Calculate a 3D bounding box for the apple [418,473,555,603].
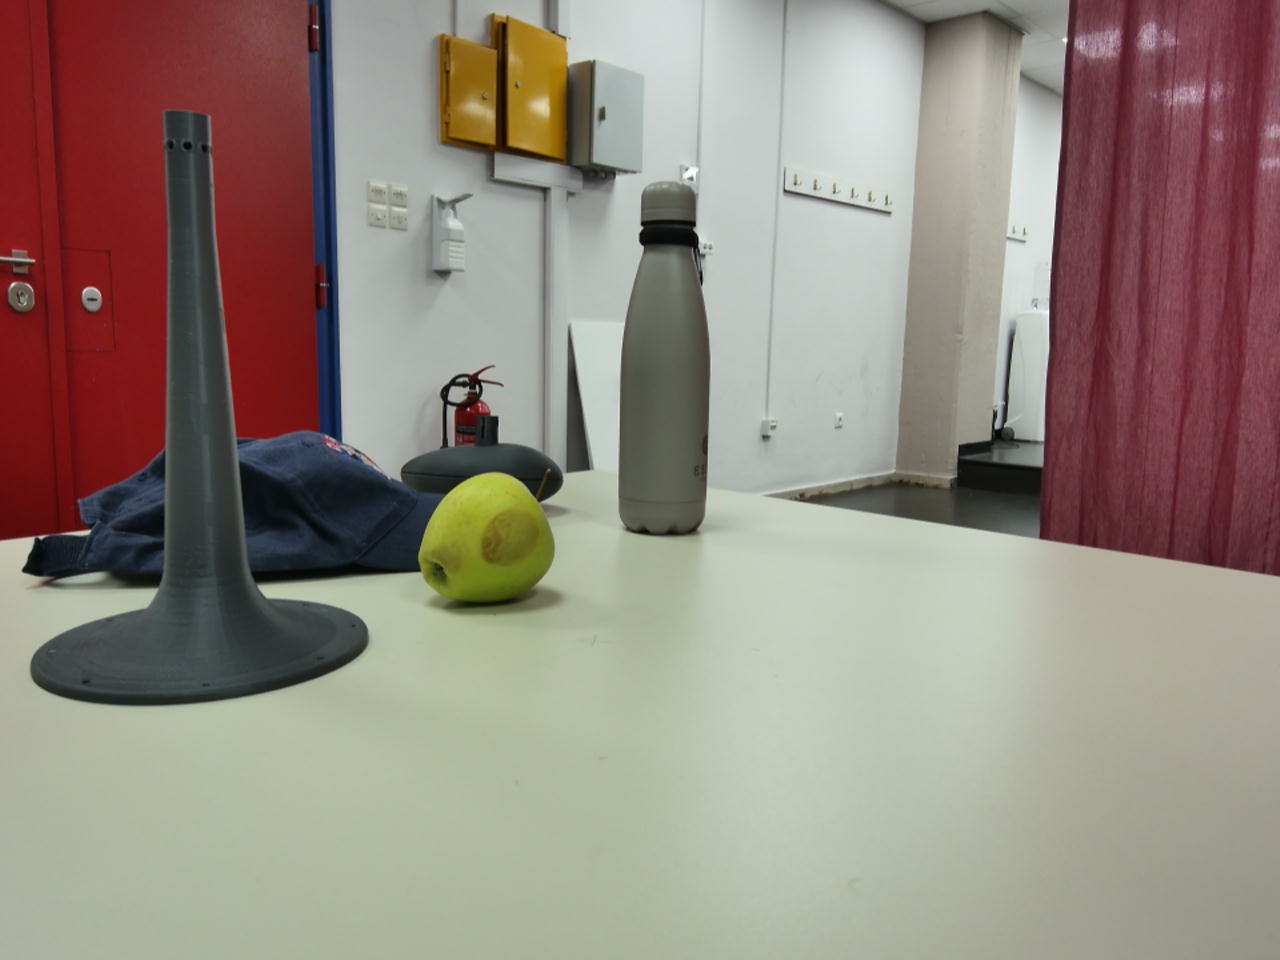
[{"bbox_3d":[-0.092,0.034,0.600,0.077,0.075,0.072,-1,7,-4],"label":"apple"}]
